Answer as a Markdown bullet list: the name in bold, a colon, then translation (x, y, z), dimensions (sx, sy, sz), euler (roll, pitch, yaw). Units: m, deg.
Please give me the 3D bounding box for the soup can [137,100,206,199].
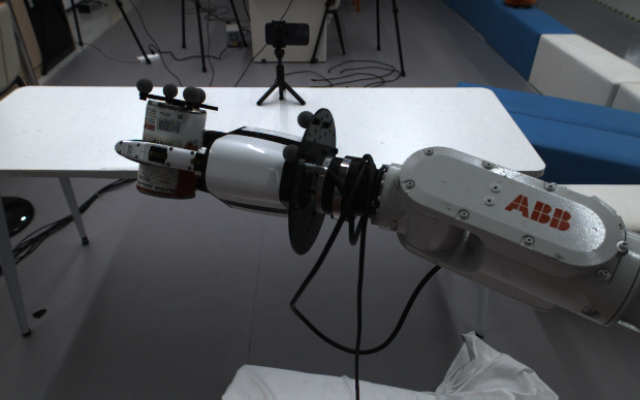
- **soup can**: translation (-0.170, -0.057, 0.558), dimensions (0.067, 0.101, 0.067), euler (11, 9, -2)
